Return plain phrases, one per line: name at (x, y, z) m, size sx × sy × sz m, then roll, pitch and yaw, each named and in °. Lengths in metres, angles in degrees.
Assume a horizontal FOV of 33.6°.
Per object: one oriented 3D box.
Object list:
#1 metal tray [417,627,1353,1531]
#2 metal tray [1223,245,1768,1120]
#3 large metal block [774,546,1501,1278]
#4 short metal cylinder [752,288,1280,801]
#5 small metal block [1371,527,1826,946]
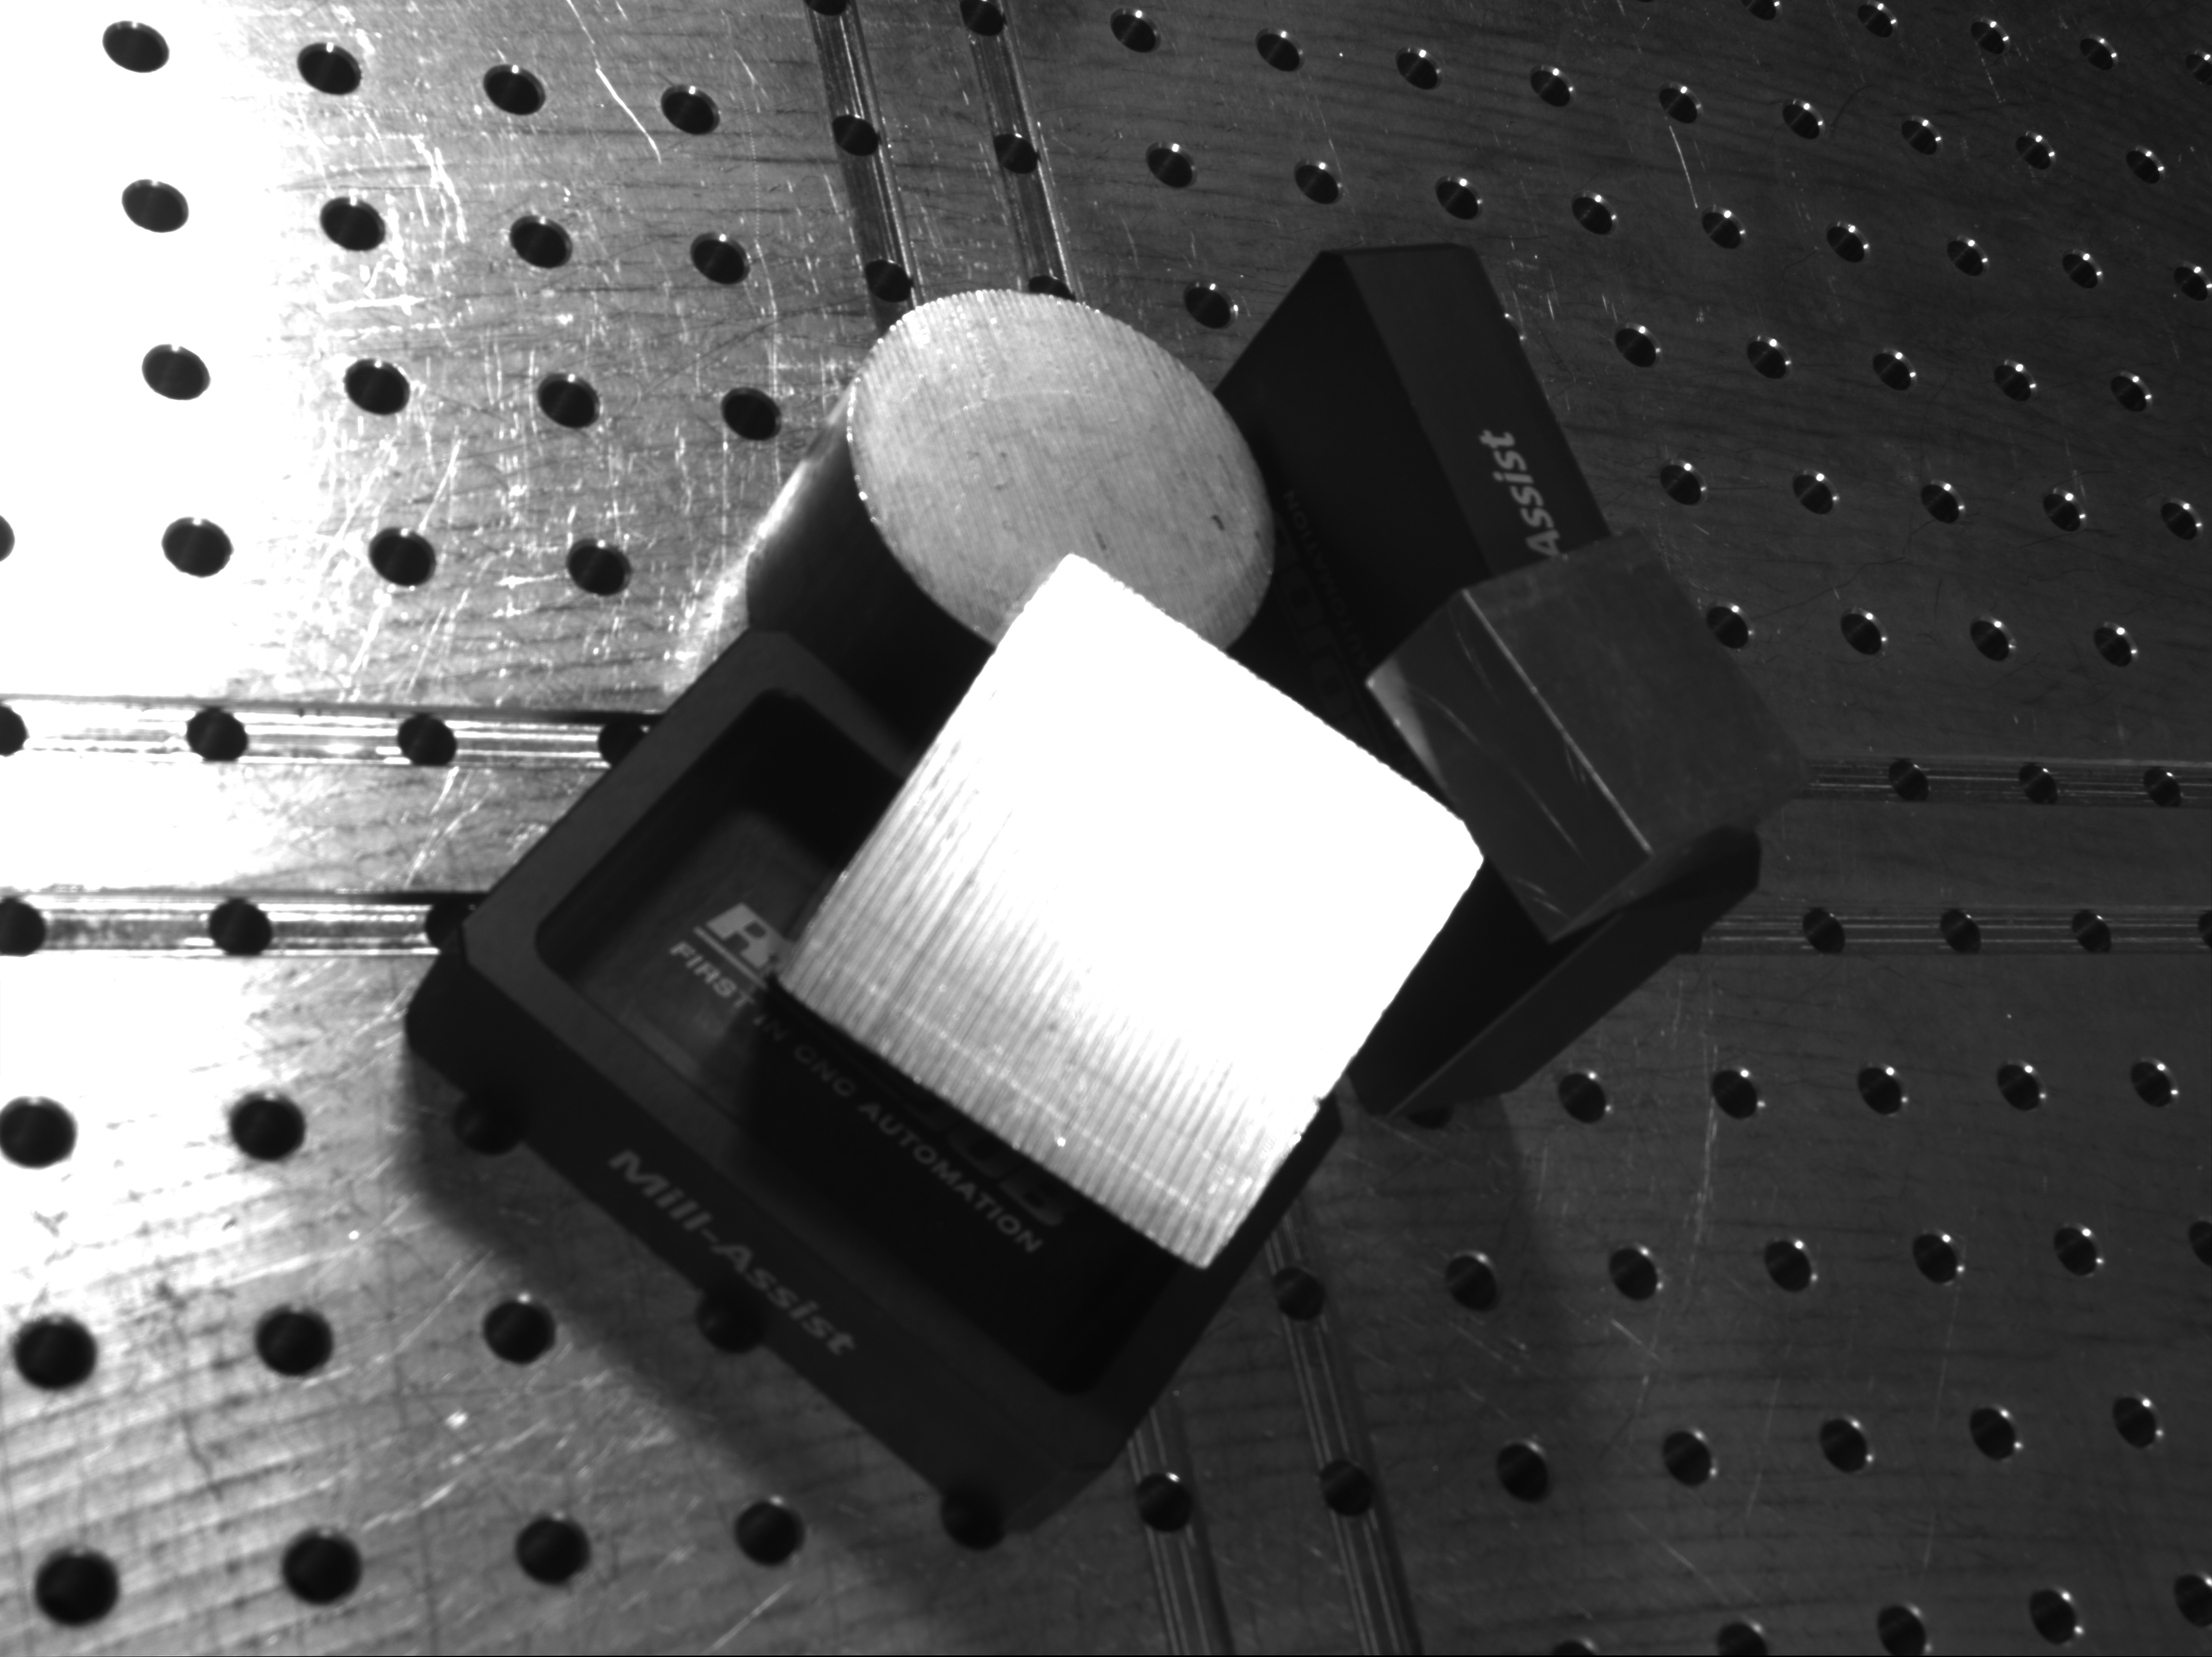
metal tray at (-0.034, 0.039, 0.596) m, size 0.130 × 0.030 × 0.090 m, roll 40°, pitch 51°, yaw -1°
metal tray at (0.057, -0.026, 0.647) m, size 0.030 × 0.090 × 0.130 m, roll -9°, pitch 66°, yaw -32°
large metal block at (0.003, 0.013, 0.581) m, size 0.080 × 0.050 × 0.080 m, roll 35°, pitch 87°, yaw -6°
short metal cylinder at (-0.016, -0.048, 0.647) m, size 0.080 × 0.050 × 0.080 m, roll 14°, pitch 56°, yaw -21°
small metal block at (0.077, -0.015, 0.572) m, size 0.050 × 0.025 × 0.050 m, roll -22°, pitch 73°, yaw -47°
